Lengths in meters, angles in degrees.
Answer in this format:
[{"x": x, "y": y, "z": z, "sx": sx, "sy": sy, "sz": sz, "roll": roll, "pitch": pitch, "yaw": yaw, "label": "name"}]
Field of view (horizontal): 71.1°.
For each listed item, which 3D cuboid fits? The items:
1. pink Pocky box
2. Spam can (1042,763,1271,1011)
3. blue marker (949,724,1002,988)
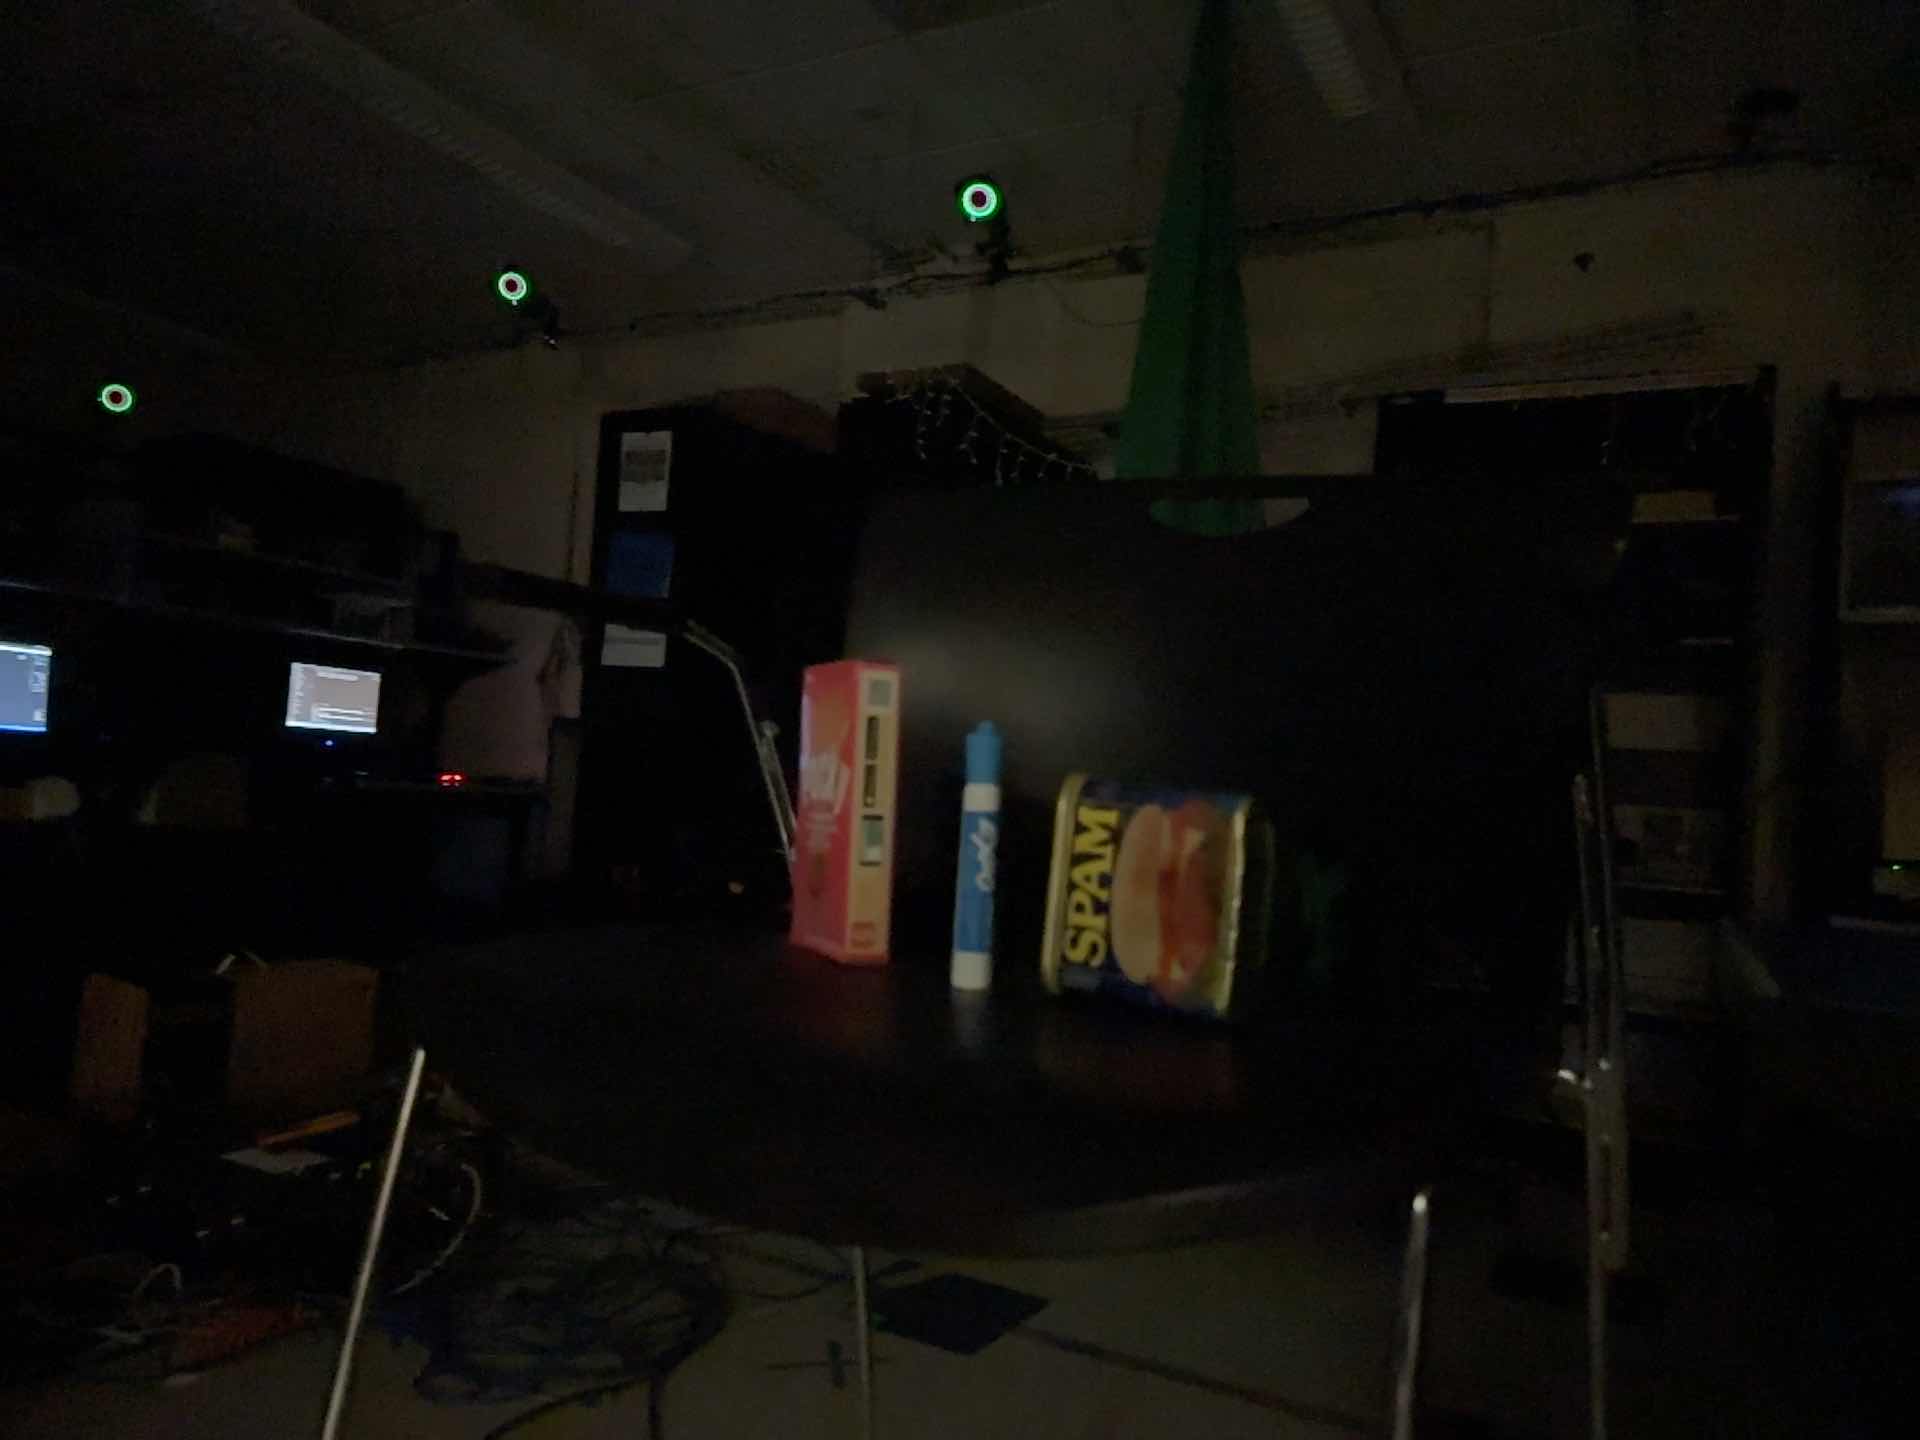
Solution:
[{"x": -0.060, "y": 0.043, "z": 0.706, "sx": 0.029, "sy": 0.155, "sz": 0.084, "roll": 3, "pitch": -2, "yaw": -25, "label": "pink Pocky box"}, {"x": 0.088, "y": 0.074, "z": 0.598, "sx": 0.083, "sy": 0.100, "sz": 0.056, "roll": 5, "pitch": -1, "yaw": 23, "label": "Spam can"}, {"x": 0.007, "y": 0.062, "z": 0.626, "sx": 0.020, "sy": 0.121, "sz": 0.020, "roll": 3, "pitch": 0, "yaw": 0, "label": "blue marker"}]
